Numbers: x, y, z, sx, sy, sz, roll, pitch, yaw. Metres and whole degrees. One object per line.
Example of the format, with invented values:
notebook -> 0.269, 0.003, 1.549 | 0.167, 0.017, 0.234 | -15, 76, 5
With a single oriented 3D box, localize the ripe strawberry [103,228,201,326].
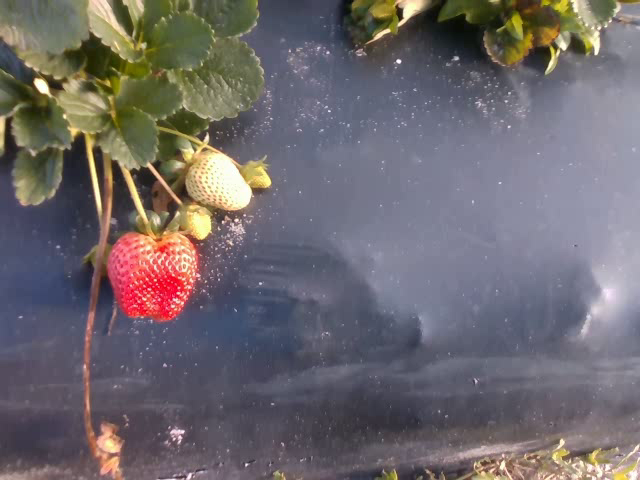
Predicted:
ripe strawberry -> -0.087, 0.021, 0.338 | 0.047, 0.050, 0.035 | 2, 3, -10
